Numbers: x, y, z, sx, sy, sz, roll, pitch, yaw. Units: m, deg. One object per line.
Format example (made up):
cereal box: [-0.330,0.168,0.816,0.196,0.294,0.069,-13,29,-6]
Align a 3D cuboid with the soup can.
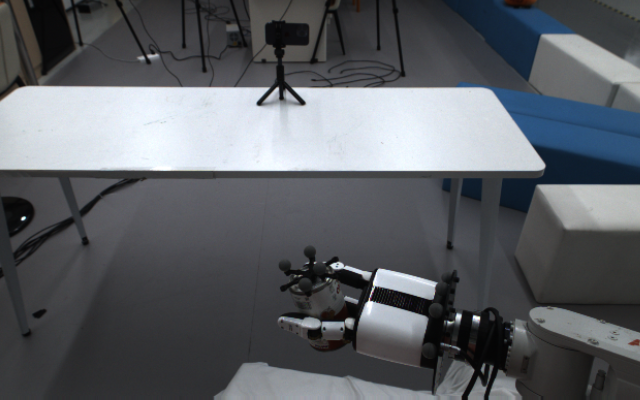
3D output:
soup can: [0.005,0.148,0.665,0.067,0.101,0.067,-16,23,7]
